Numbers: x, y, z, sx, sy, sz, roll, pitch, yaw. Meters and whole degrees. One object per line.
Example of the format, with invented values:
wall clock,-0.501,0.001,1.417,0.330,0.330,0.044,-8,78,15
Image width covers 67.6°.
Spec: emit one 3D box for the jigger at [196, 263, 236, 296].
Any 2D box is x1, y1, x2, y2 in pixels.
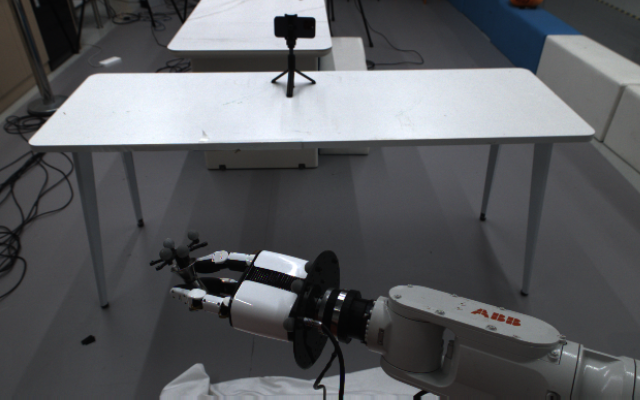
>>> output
jigger,-0.183,0.122,0.714,0.043,0.071,0.043,-20,16,6
